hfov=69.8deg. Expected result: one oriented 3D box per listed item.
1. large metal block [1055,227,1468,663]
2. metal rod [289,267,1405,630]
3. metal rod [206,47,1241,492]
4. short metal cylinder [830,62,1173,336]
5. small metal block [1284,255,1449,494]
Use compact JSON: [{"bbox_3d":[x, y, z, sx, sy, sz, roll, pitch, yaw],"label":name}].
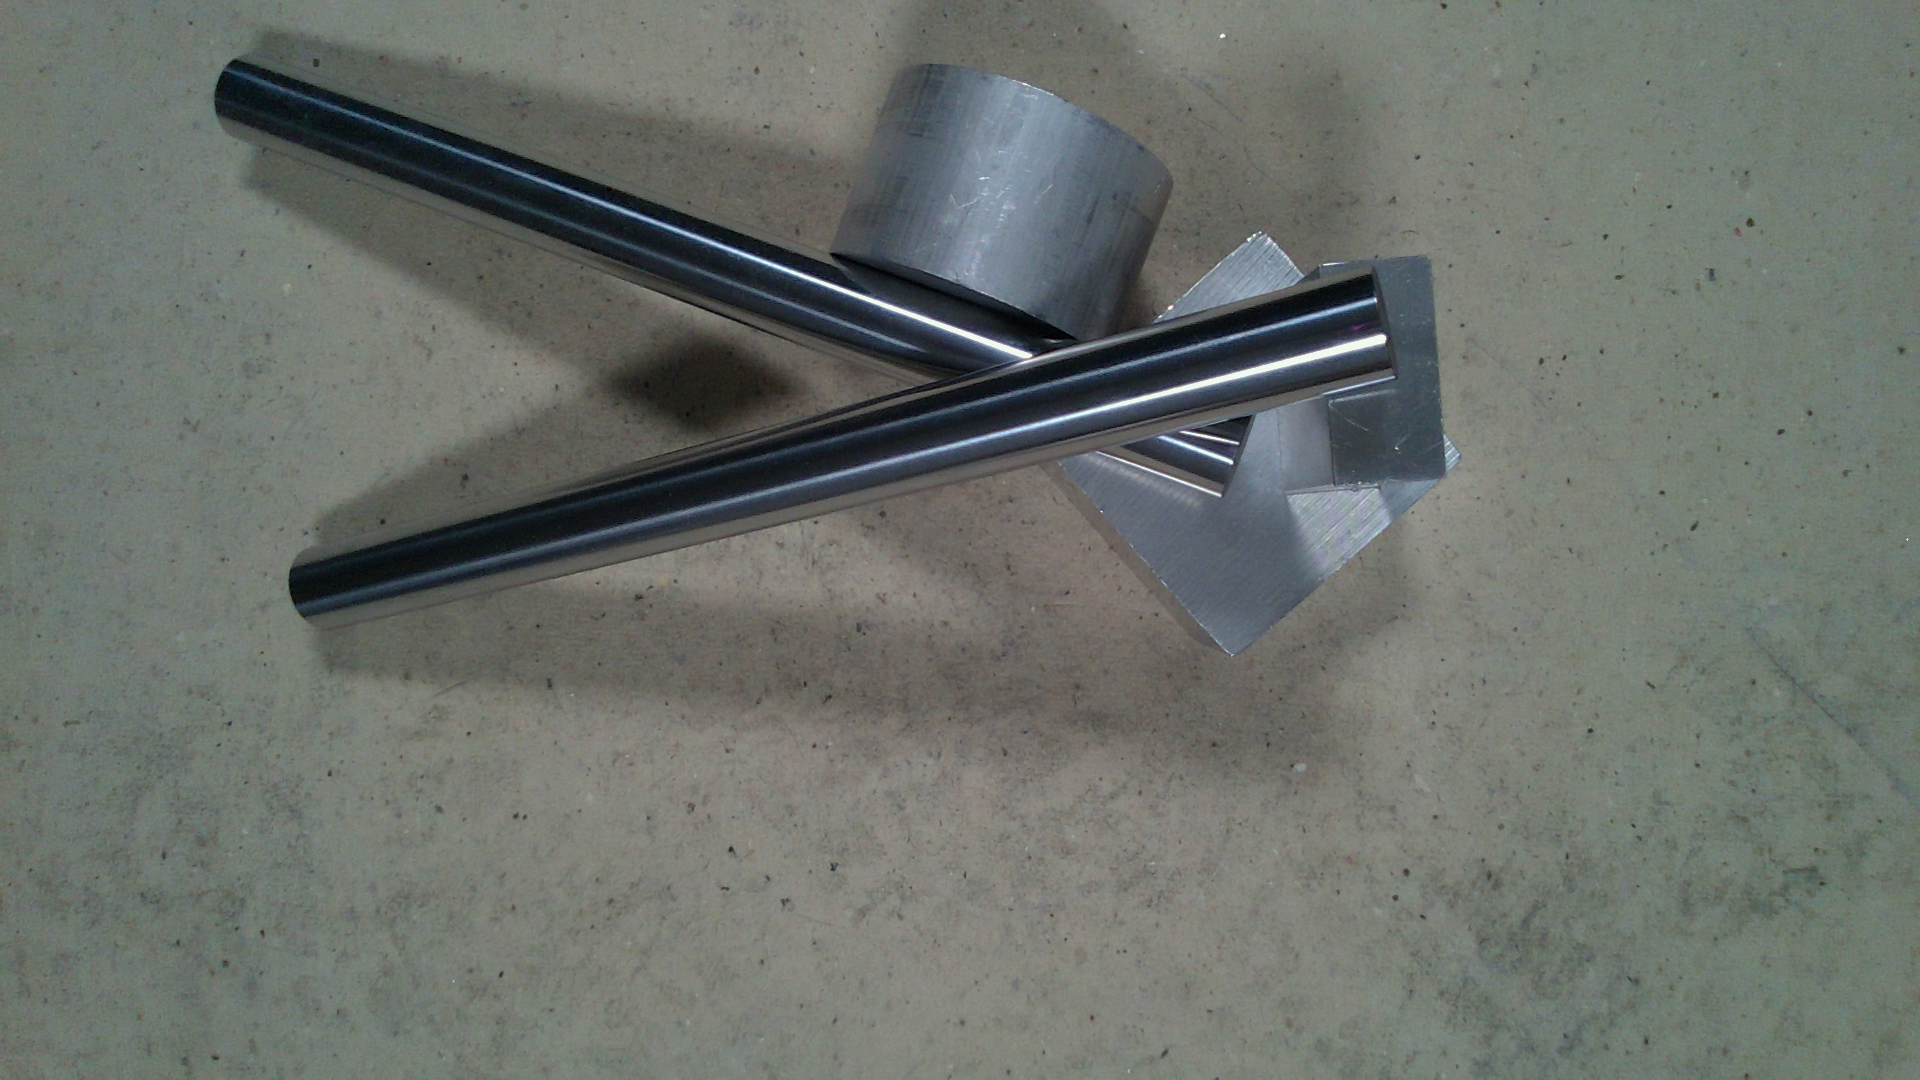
[{"bbox_3d":[0.076,-0.025,0.382,0.080,0.050,0.080,-41,90,1],"label":"large metal block"},{"bbox_3d":[-0.046,-0.016,0.342,0.299,0.025,0.025,-12,90,21],"label":"metal rod"},{"bbox_3d":[-0.070,-0.076,0.366,0.300,0.025,0.025,21,90,11],"label":"metal rod"},{"bbox_3d":[0.011,-0.085,0.369,0.080,0.080,0.050,21,90,0],"label":"short metal cylinder"},{"bbox_3d":[0.095,-0.037,0.330,0.025,0.050,0.050,-4,90,1],"label":"small metal block"}]
